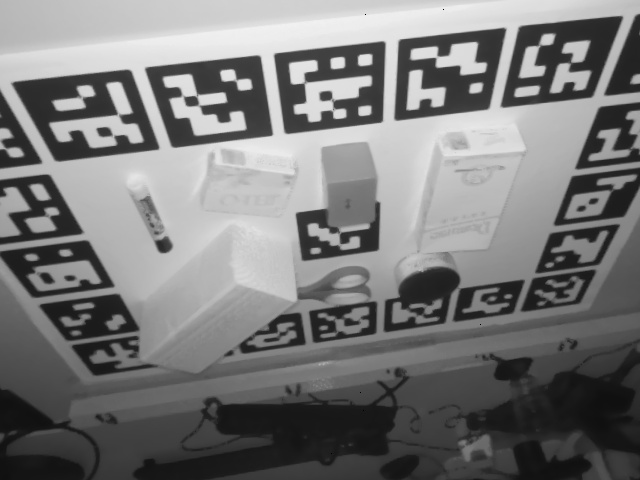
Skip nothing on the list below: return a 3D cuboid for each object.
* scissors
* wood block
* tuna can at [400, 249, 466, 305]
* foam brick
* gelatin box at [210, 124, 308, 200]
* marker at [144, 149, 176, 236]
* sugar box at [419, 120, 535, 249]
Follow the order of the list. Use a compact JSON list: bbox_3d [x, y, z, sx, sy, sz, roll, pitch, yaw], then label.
[{"bbox_3d":[-0.022,0.062,0.934,0.204,0.016,0.086,-2,139,-13],"label":"scissors"},{"bbox_3d":[-0.134,0.058,0.852,0.091,0.091,0.203,28,128,-37],"label":"wood block"},{"bbox_3d":[0.152,0.050,0.939,0.086,0.034,0.085,-6,139,-5],"label":"tuna can"},{"bbox_3d":[0.038,-0.074,0.754,0.053,0.051,0.077,-5,139,-7],"label":"foam brick"},{"bbox_3d":[-0.067,-0.082,0.745,0.090,0.030,0.072,7,136,-20],"label":"gelatin box"},{"bbox_3d":[-0.176,-0.048,0.766,0.020,0.020,0.120,-5,137,-6],"label":"marker"},{"bbox_3d":[0.178,-0.061,0.813,0.093,0.045,0.174,-2,139,-8],"label":"sugar box"}]
